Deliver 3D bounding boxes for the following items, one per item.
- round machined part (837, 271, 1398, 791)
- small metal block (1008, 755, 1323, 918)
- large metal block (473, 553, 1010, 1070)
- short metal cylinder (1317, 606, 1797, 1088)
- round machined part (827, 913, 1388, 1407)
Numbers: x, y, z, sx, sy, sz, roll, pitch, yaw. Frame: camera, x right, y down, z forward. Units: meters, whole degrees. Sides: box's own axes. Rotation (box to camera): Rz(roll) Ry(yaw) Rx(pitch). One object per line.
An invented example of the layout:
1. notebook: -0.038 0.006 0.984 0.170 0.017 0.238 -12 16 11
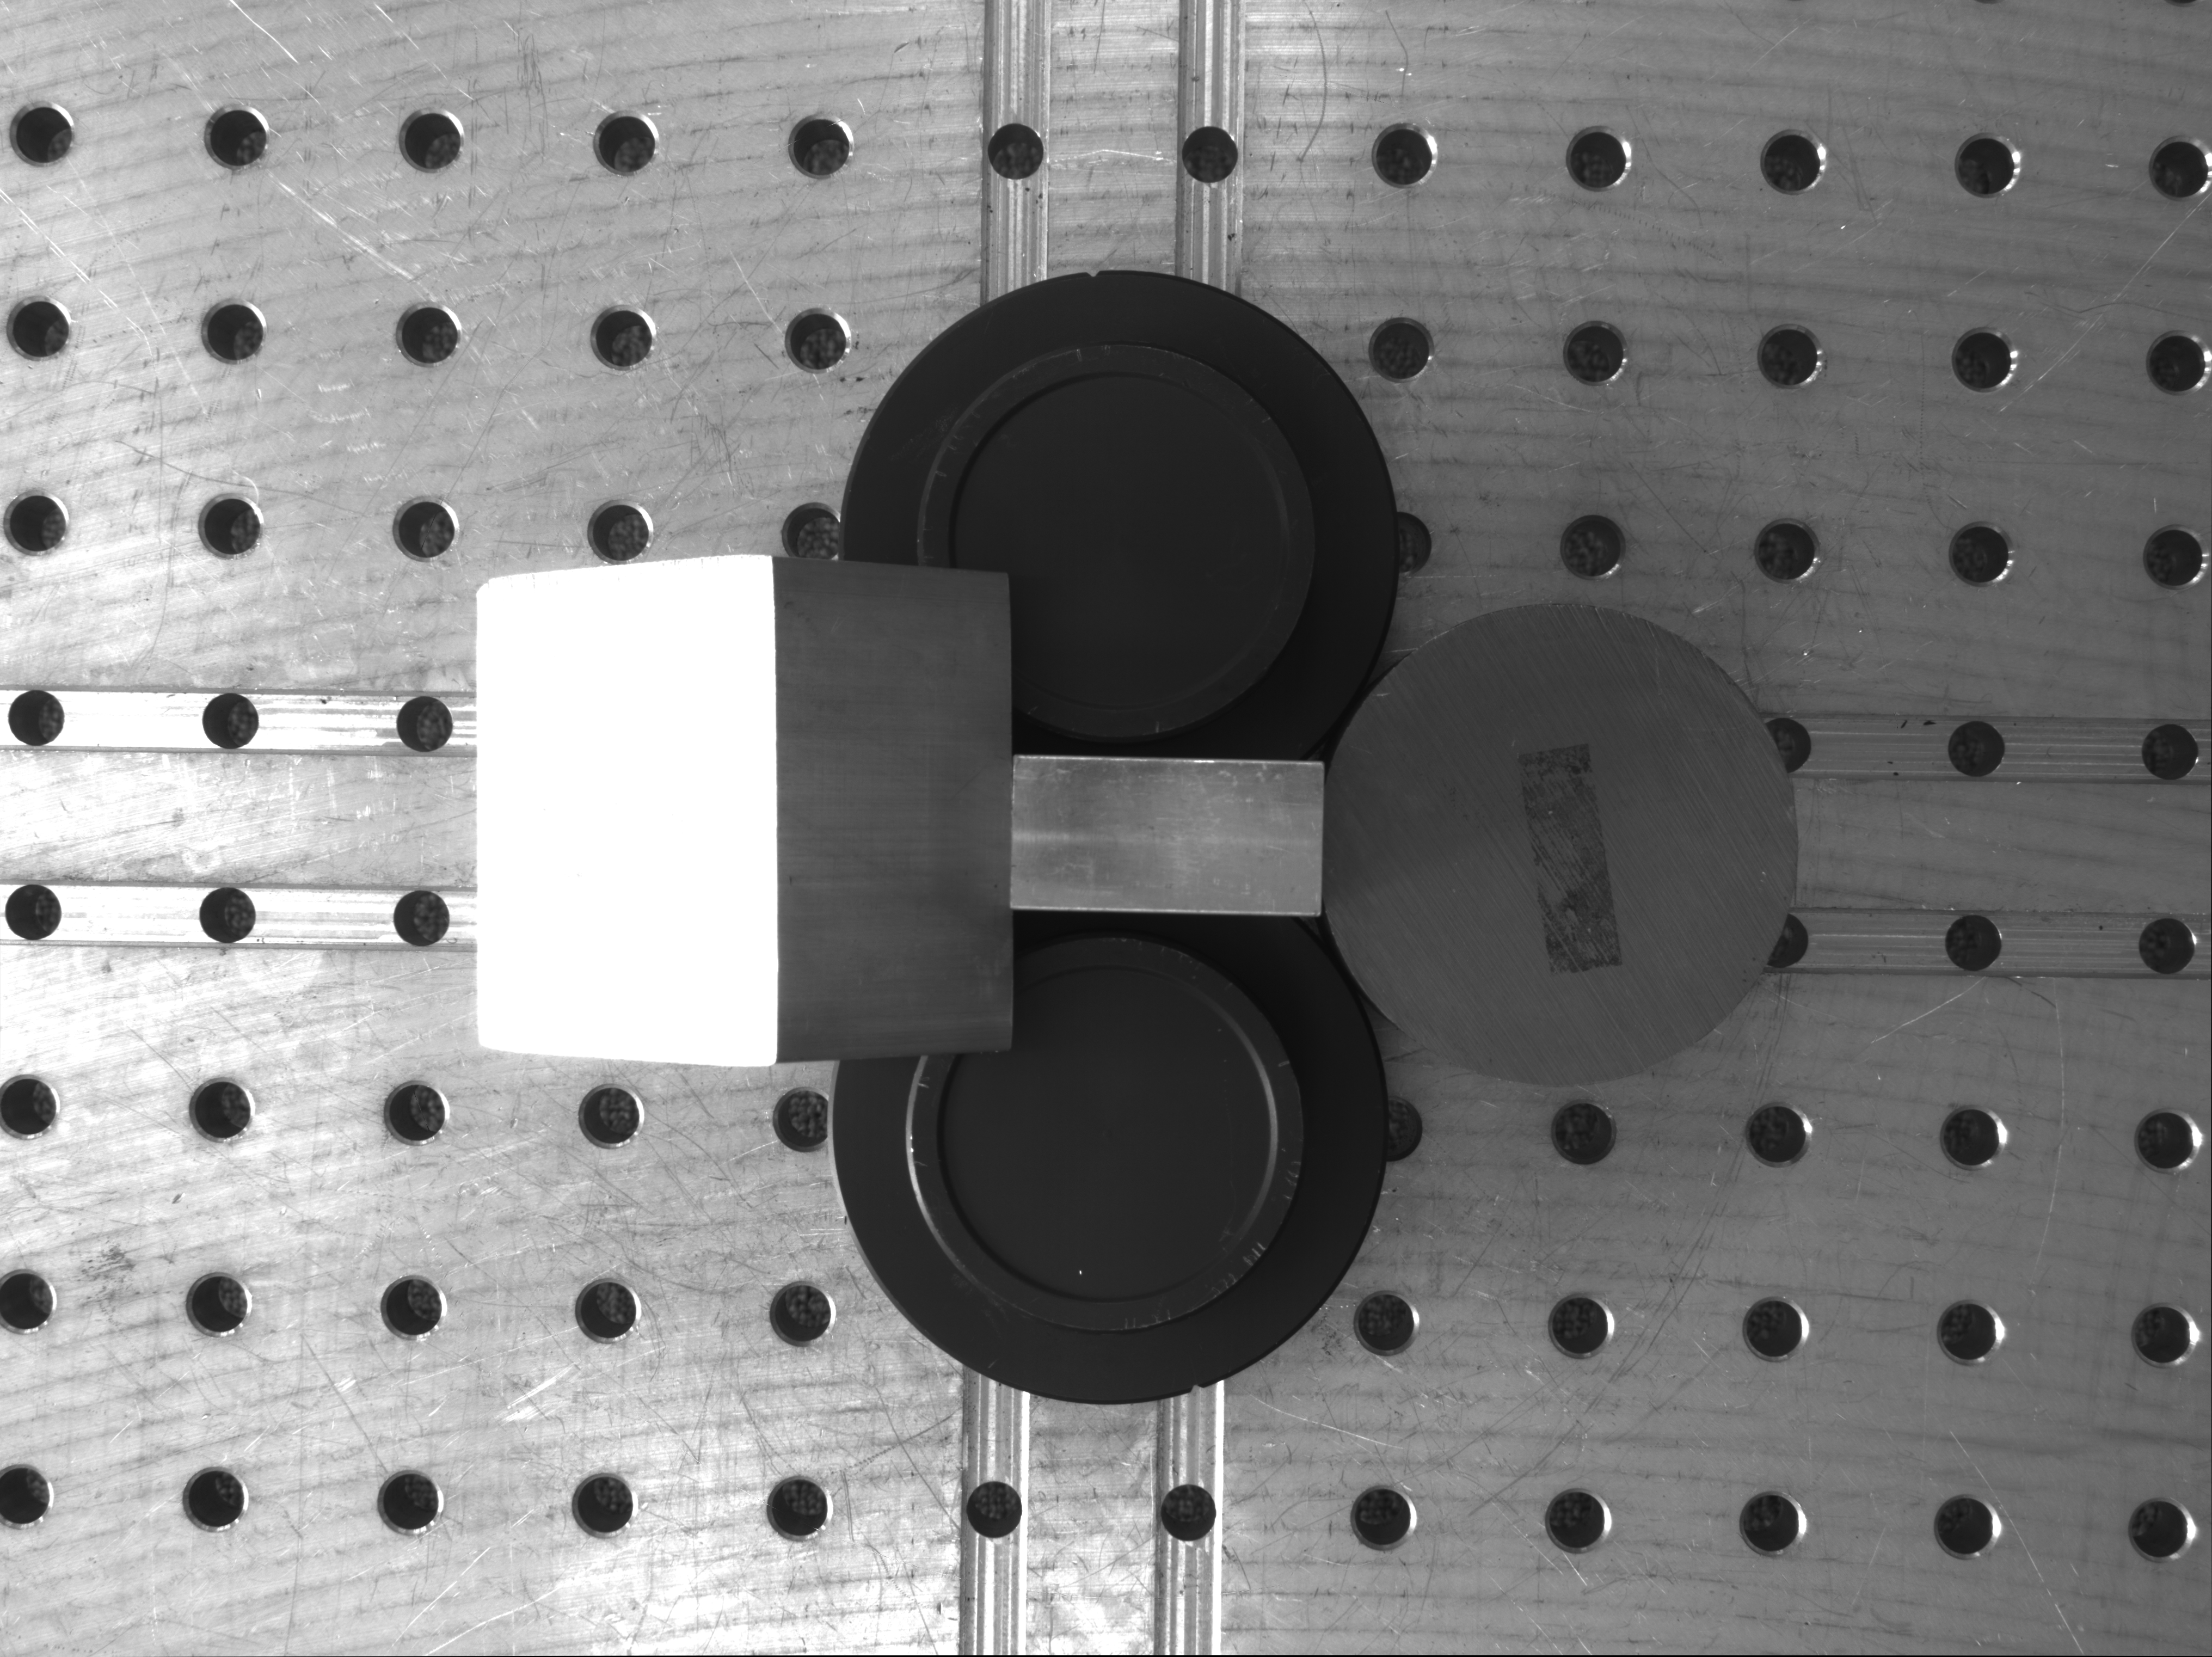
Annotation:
1. round machined part: 0.002 -0.049 0.639 0.098 0.042 0.098 0 90 0
2. small metal block: 0.010 0.001 0.613 0.050 0.050 0.025 1 90 0
3. large metal block: -0.062 -0.003 0.614 0.050 0.080 0.080 0 90 -44
4. short metal cylinder: 0.075 0.003 0.634 0.080 0.050 0.080 0 90 0
5. round machined part: 0.000 0.052 0.639 0.098 0.042 0.098 0 90 0
